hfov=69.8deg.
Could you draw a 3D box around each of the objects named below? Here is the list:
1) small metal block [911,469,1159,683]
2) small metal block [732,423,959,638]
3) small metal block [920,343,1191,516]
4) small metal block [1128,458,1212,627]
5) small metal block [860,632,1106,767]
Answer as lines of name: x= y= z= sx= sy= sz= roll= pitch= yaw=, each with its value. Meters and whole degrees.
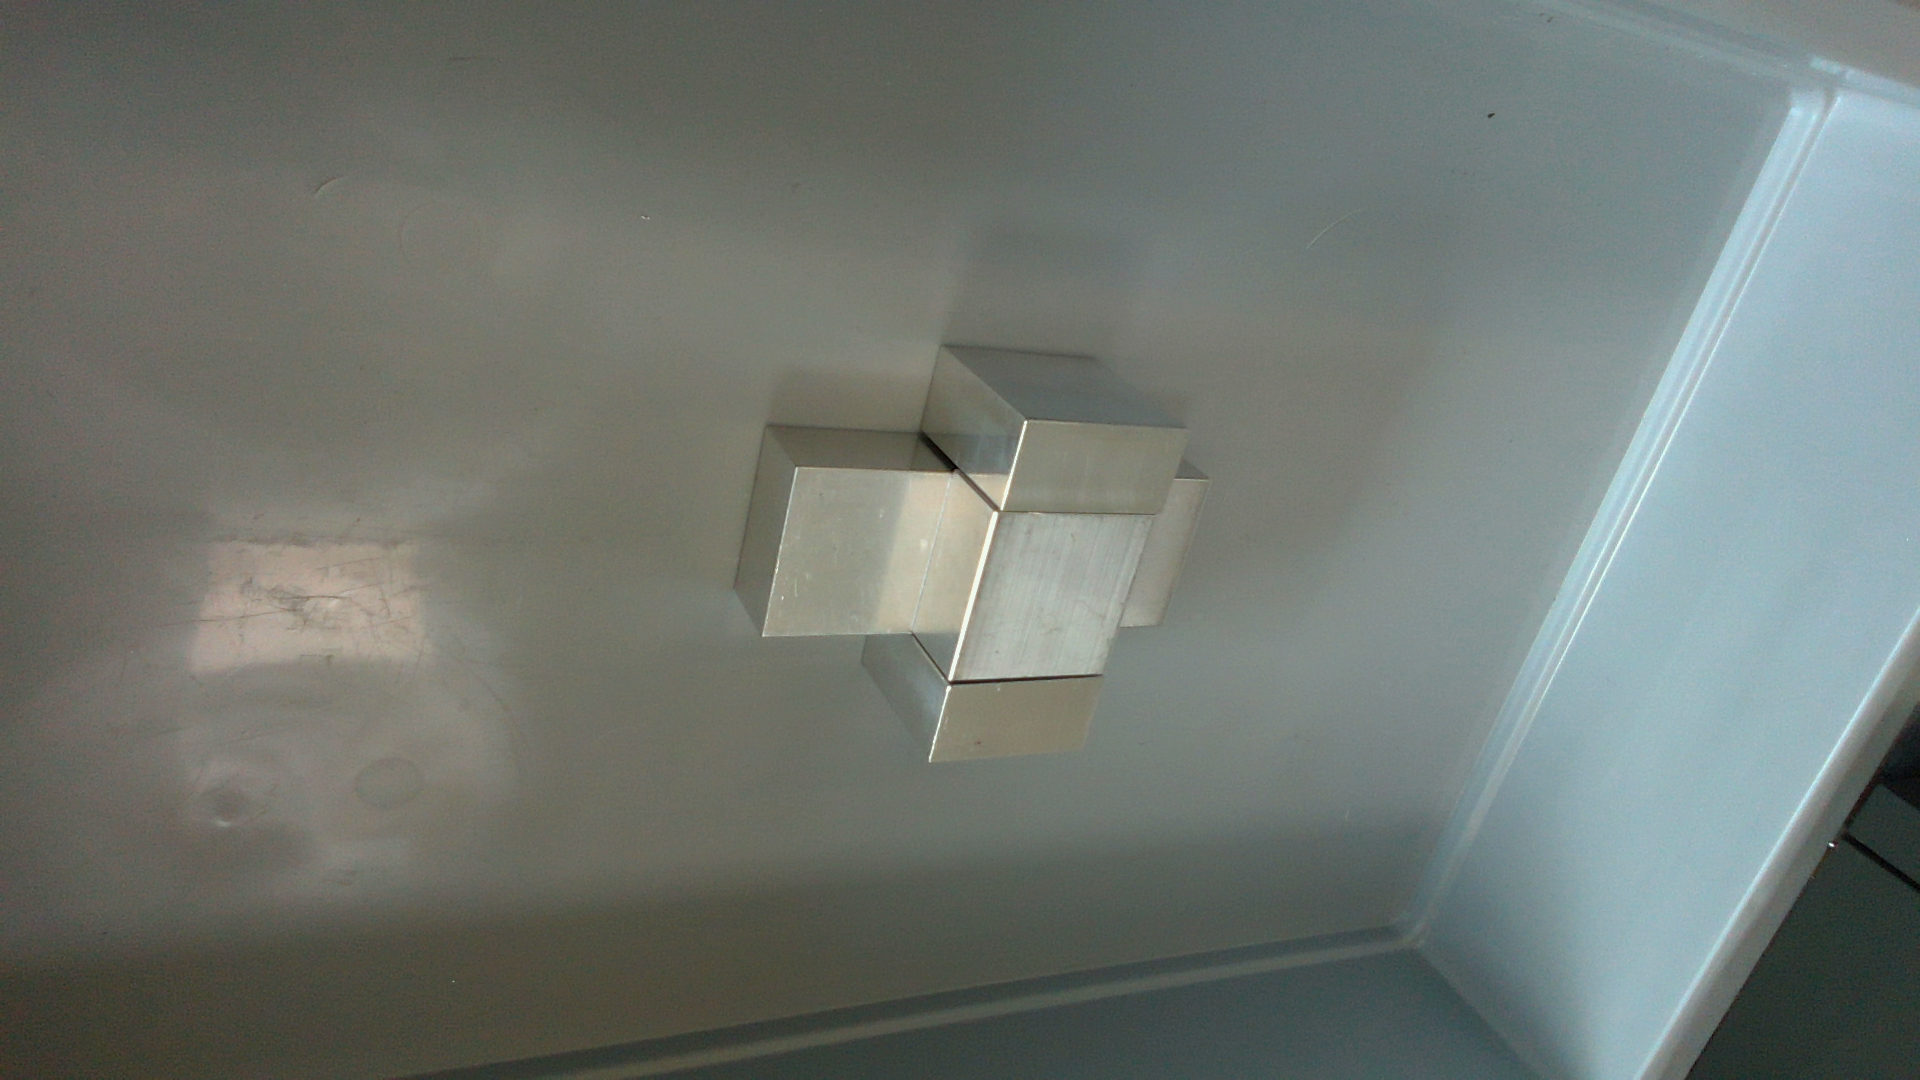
small metal block: x=0.019 y=0.010 z=0.371 sx=0.050 sy=0.025 sz=0.050 roll=0 pitch=118 yaw=-29
small metal block: x=-0.029 y=-0.002 z=0.370 sx=0.050 sy=0.025 sz=0.050 roll=1 pitch=118 yaw=-29
small metal block: x=0.024 y=-0.030 z=0.366 sx=0.050 sy=0.050 sz=0.025 roll=1 pitch=118 yaw=-29
small metal block: x=0.041 y=-0.002 z=0.409 sx=0.050 sy=0.025 sz=0.050 roll=0 pitch=118 yaw=-29
small metal block: x=0.006 y=0.038 z=0.396 sx=0.050 sy=0.050 sz=0.025 roll=1 pitch=118 yaw=-29
